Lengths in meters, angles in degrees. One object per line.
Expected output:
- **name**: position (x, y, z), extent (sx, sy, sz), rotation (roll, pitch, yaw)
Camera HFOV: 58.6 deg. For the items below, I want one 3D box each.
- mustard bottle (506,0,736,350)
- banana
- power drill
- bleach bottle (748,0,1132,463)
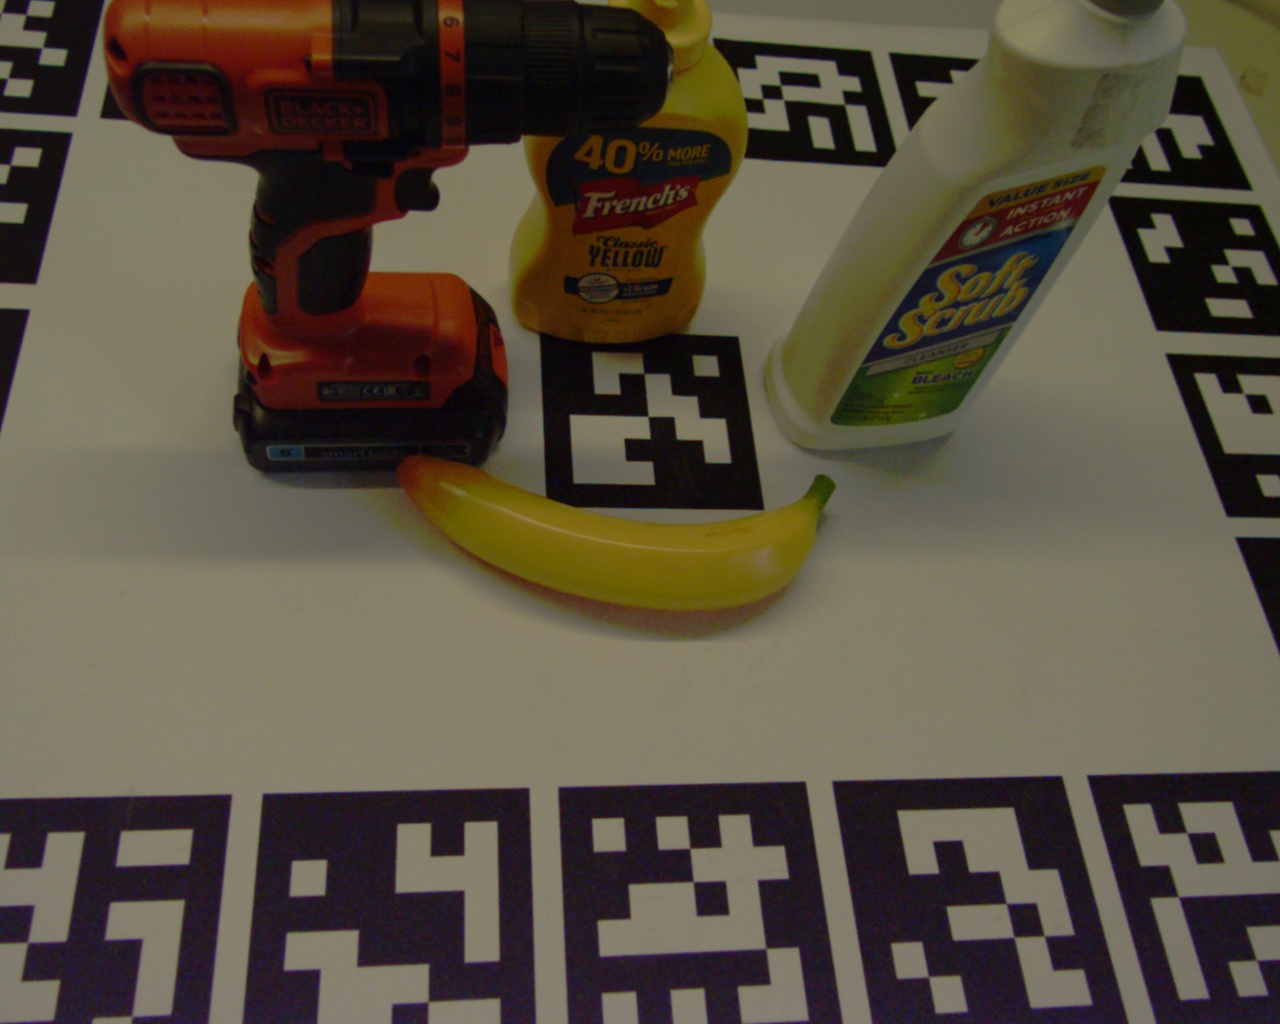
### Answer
- **mustard bottle**: position (-0.007, -0.153, 0.531), extent (0.095, 0.192, 0.059), rotation (0, 61, -12)
- **banana**: position (0.000, 0.008, 0.528), extent (0.196, 0.039, 0.074), rotation (1, 65, -7)
- **power drill**: position (-0.097, -0.107, 0.468), extent (0.183, 0.187, 0.058), rotation (-2, 55, -15)
- **bleach bottle**: position (0.129, -0.114, 0.508), extent (0.102, 0.251, 0.068), rotation (-8, 65, -15)
